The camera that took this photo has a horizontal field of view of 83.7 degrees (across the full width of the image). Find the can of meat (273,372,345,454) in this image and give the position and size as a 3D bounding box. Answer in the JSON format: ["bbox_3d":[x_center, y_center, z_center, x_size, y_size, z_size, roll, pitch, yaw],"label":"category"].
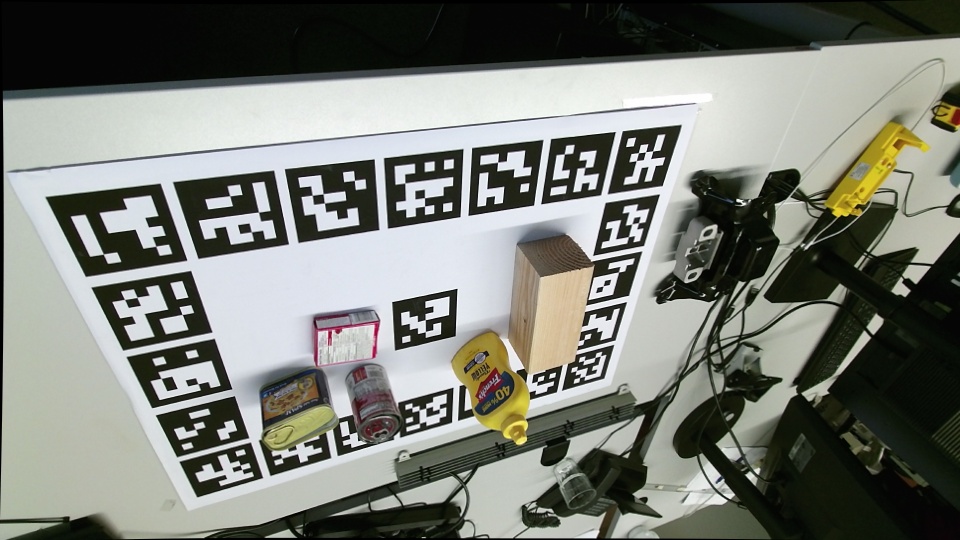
[{"bbox_3d":[-0.249,0.208,0.784,0.102,0.083,0.058,-21,130,-8],"label":"can of meat"}]

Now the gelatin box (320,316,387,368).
[{"bbox_3d":[-0.182,0.105,0.770,0.090,0.030,0.073,-4,124,-27],"label":"gelatin box"}]

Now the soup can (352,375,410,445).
[{"bbox_3d":[-0.153,0.218,0.816,0.068,0.101,0.068,-14,127,-18],"label":"soup can"}]

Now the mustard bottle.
[{"bbox_3d":[0.040,0.193,0.852,0.096,0.190,0.058,-31,133,-1],"label":"mustard bottle"}]

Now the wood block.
[{"bbox_3d":[0.119,0.064,0.857,0.091,0.089,0.206,-10,132,-18],"label":"wood block"}]
